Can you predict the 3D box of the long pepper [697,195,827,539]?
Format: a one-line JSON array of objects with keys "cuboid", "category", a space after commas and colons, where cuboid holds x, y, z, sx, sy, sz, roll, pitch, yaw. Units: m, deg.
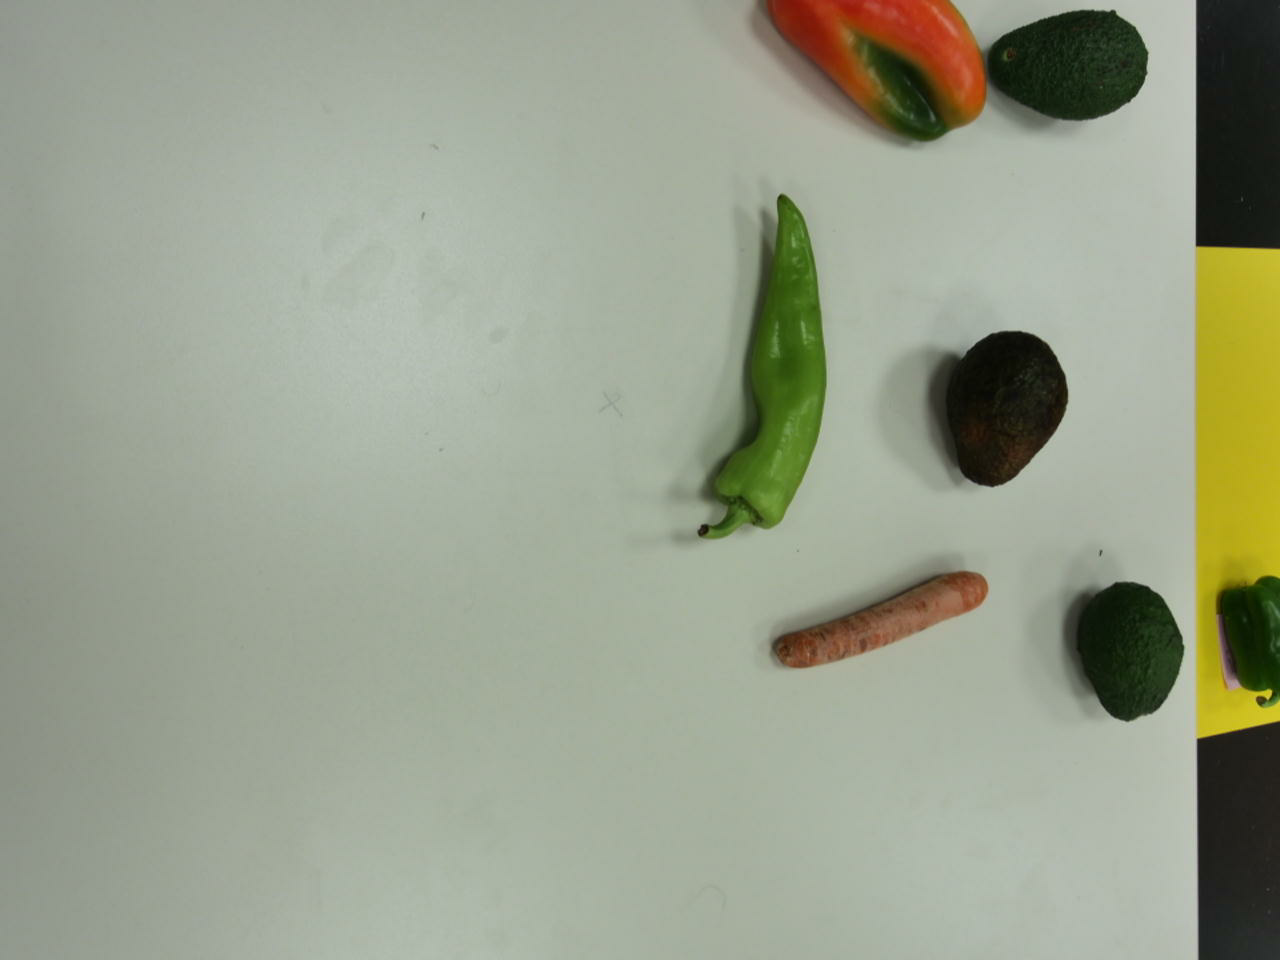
[{"cuboid": [0.082, -0.058, 0.580, 0.065, 0.045, 0.204, 17, 84, -21], "category": "long pepper"}]
